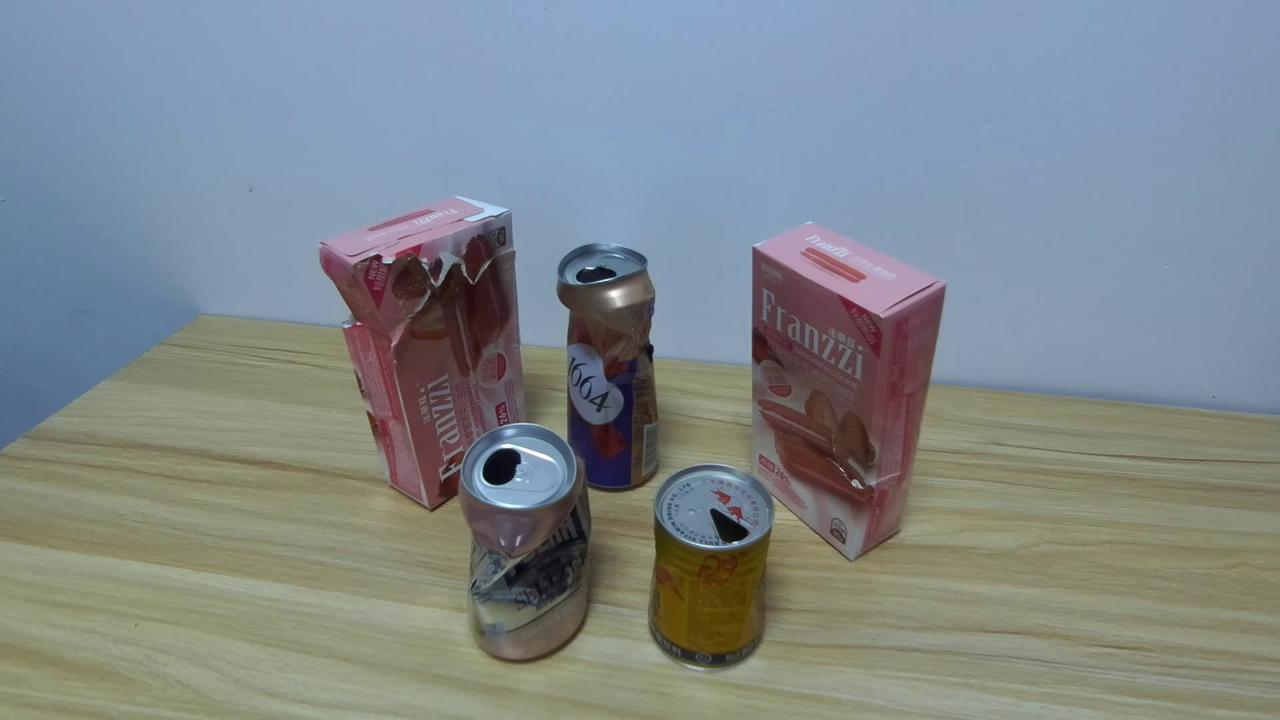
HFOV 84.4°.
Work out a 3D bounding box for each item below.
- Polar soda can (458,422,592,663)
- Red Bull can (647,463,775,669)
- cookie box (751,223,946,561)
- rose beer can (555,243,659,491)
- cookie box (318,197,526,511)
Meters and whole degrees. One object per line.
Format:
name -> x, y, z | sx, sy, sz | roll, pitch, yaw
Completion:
Polar soda can -> -0.059, 0.100, 0.370 | 0.066, 0.122, 0.071 | 1, 33, -3
Red Bull can -> 0.038, 0.110, 0.373 | 0.069, 0.092, 0.069 | 0, 33, 1
cookie box -> 0.116, 0.026, 0.416 | 0.049, 0.188, 0.104 | -25, 40, -23
rose beer can -> -0.019, 0.008, 0.466 | 0.073, 0.162, 0.068 | 10, 35, 20
cookie box -> -0.126, -0.001, 0.461 | 0.059, 0.186, 0.105 | 23, 40, 34
